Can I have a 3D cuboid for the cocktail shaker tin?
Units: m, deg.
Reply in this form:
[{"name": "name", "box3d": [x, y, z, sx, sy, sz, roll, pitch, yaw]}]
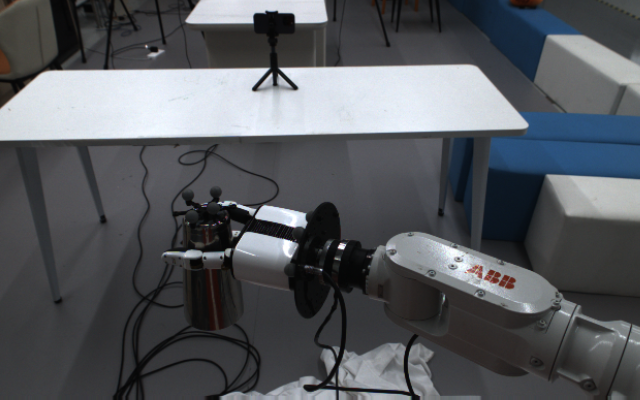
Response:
[{"name": "cocktail shaker tin", "box3d": [-0.161, 0.096, 0.723, 0.093, 0.170, 0.093, 1, 27, -1]}]
